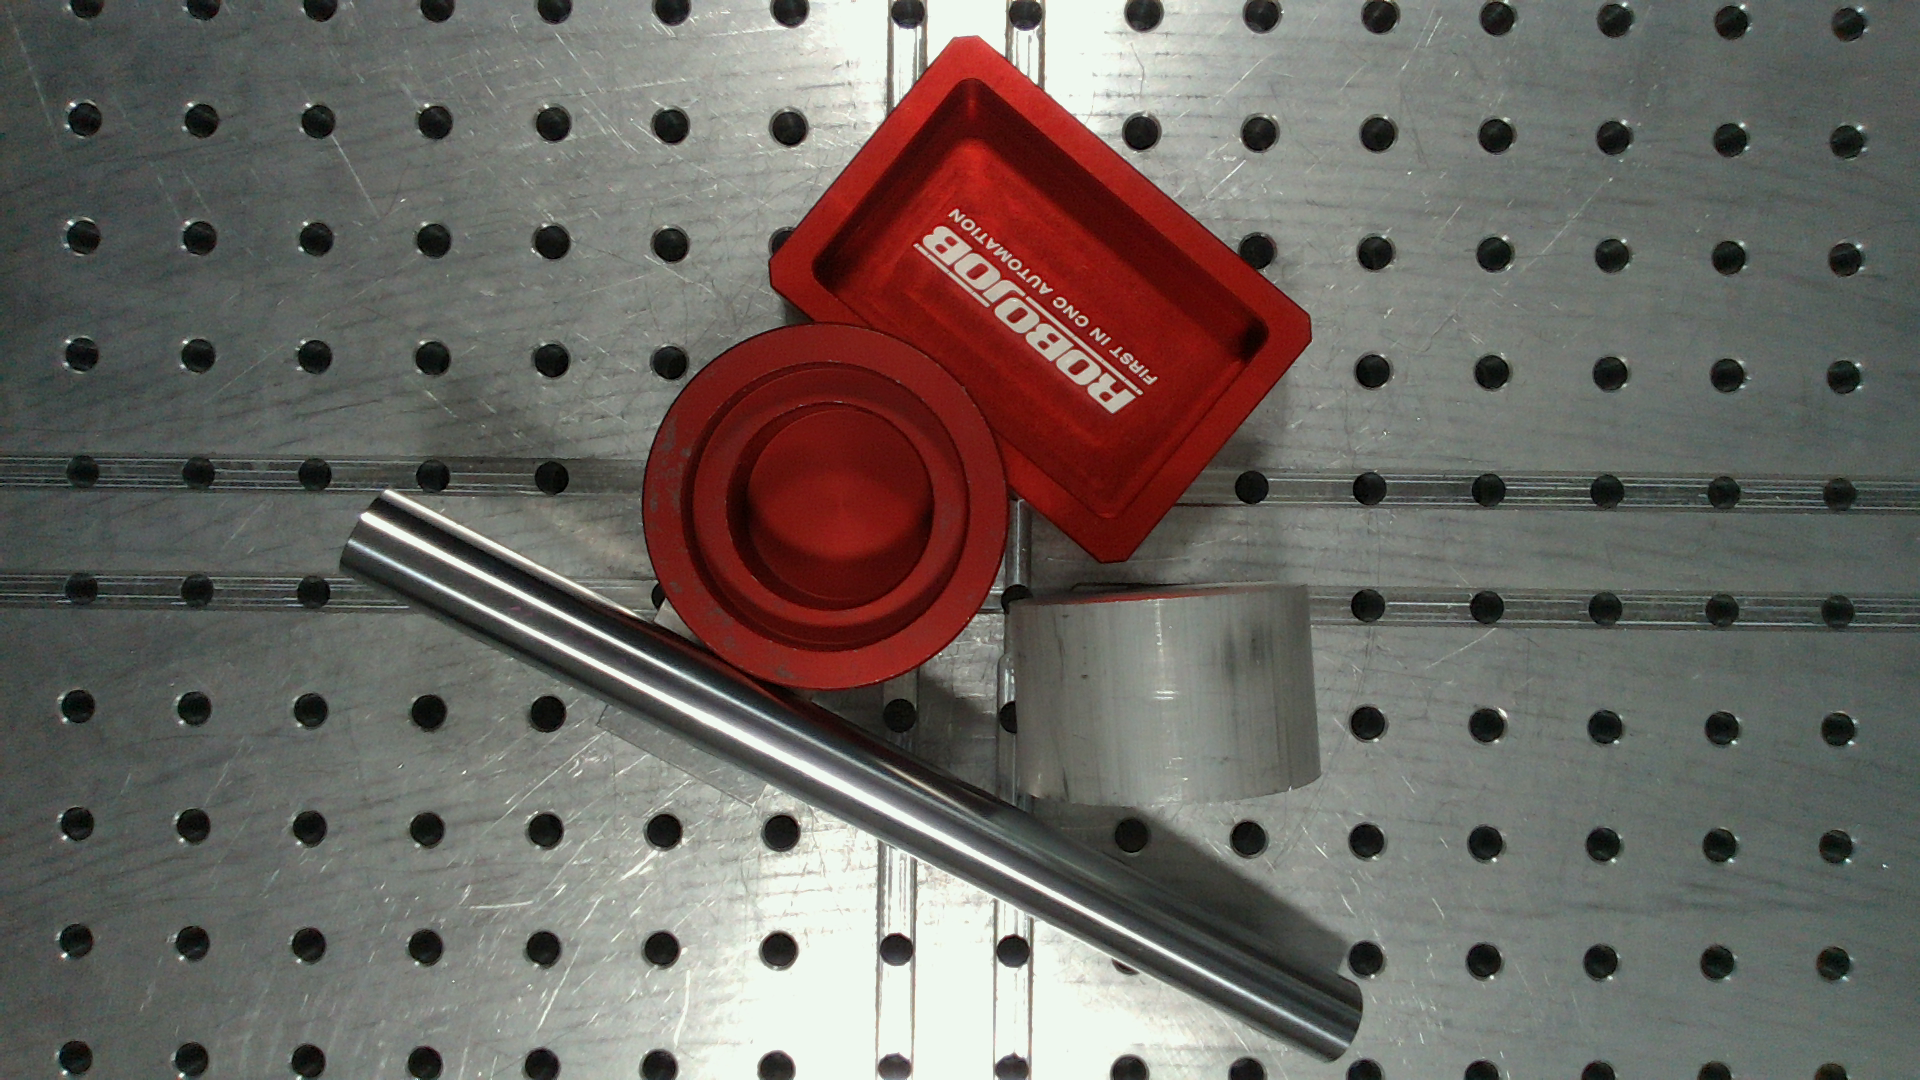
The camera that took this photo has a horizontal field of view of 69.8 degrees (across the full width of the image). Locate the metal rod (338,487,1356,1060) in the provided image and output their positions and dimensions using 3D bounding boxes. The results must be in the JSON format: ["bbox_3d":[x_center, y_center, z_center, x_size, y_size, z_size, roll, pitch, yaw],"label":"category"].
[{"bbox_3d":[-0.023,0.068,0.378,0.300,0.025,0.025,29,90,-9],"label":"metal rod"}]

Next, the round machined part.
[{"bbox_3d":[-0.035,-0.010,0.381,0.098,0.042,0.098,0,90,2],"label":"round machined part"}]

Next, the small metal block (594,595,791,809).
[{"bbox_3d":[-0.069,0.042,0.398,0.050,0.025,0.050,28,90,0],"label":"small metal block"}]

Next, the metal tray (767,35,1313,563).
[{"bbox_3d":[0.022,-0.067,0.394,0.130,0.030,0.090,40,90,0],"label":"metal tray"}]

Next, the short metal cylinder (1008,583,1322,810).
[{"bbox_3d":[0.055,0.039,0.369,0.080,0.080,0.050,-4,90,0],"label":"short metal cylinder"}]
